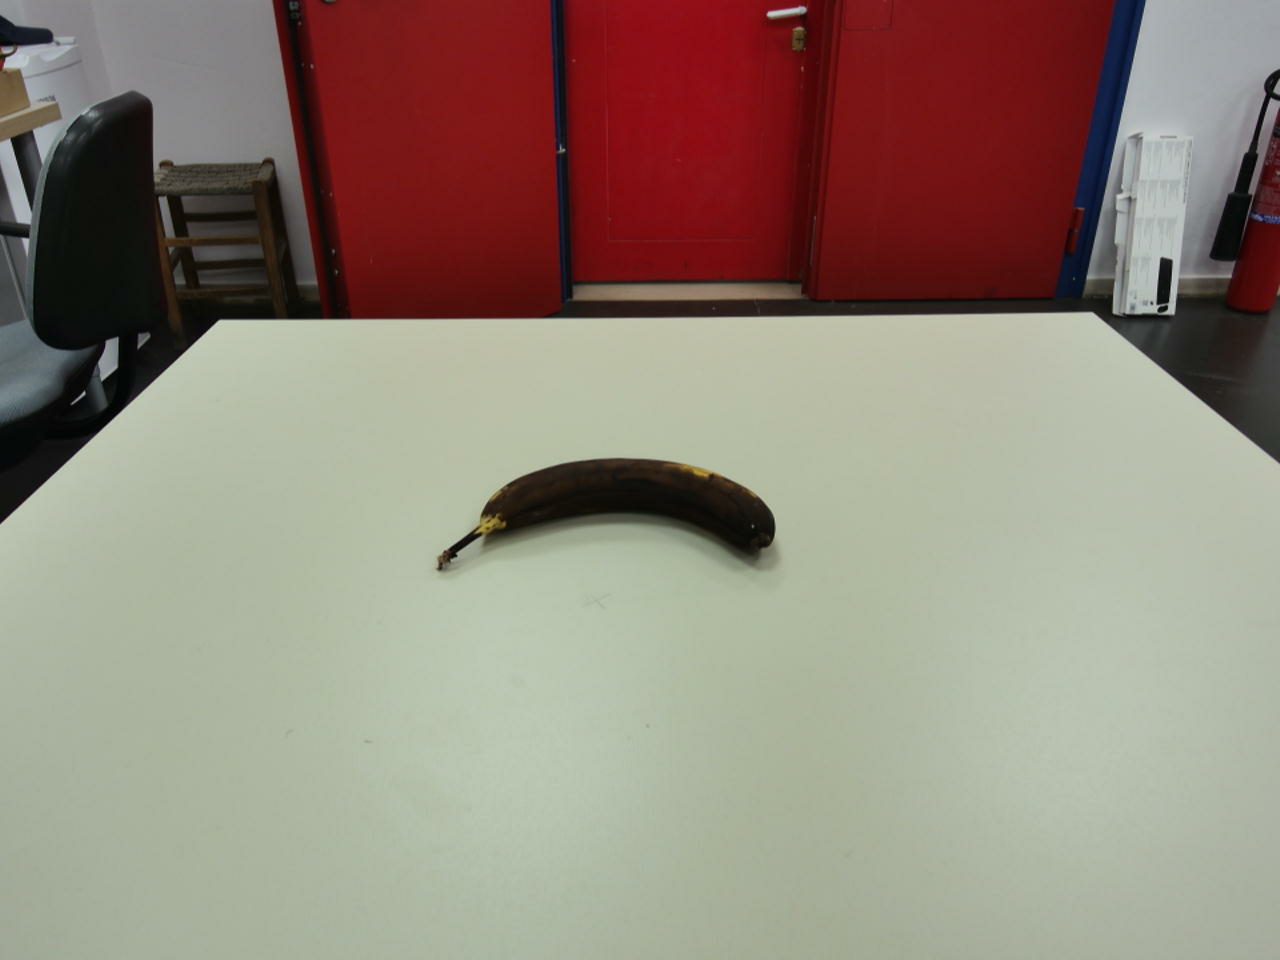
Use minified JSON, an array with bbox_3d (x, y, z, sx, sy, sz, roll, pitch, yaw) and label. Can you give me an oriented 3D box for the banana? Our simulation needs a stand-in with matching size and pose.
[{"bbox_3d":[-0.018,0.014,0.582,0.188,0.034,0.091,0,27,1],"label":"banana"}]
